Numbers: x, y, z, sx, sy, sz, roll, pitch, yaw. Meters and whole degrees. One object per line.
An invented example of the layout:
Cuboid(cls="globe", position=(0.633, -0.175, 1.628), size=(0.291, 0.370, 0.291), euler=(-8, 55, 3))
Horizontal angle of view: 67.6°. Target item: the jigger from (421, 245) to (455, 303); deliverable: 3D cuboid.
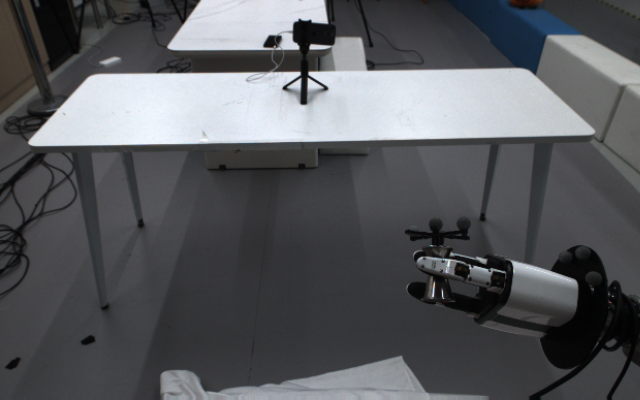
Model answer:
Cuboid(cls="jigger", position=(0.151, 0.095, 0.629), size=(0.043, 0.043, 0.071), euler=(3, 75, 1))
